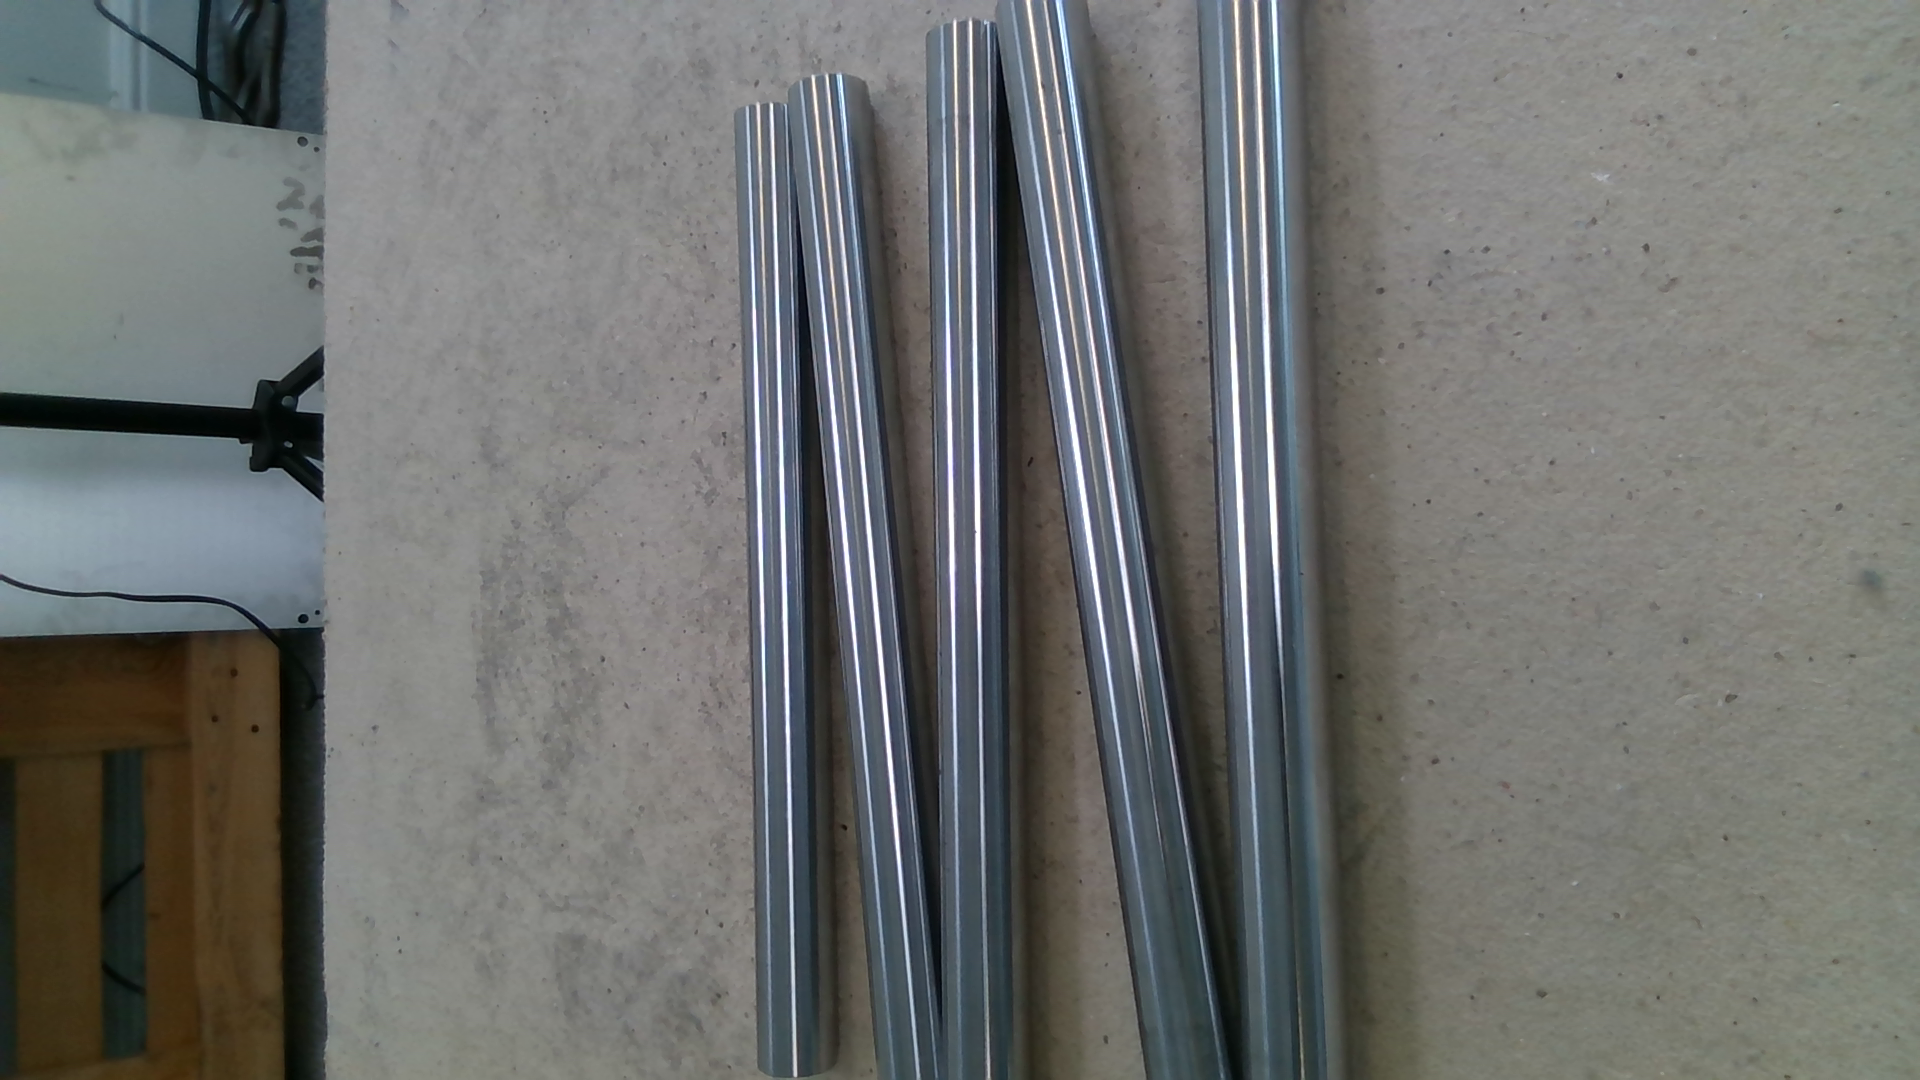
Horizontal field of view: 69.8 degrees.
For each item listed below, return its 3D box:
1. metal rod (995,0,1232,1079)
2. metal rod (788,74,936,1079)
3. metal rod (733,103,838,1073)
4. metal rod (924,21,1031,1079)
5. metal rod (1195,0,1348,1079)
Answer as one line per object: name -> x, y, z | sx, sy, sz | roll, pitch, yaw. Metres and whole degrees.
metal rod -> 0.041, 0.003, 0.356 | 0.025, 0.025, 0.300 | -12, 82, 40
metal rod -> -0.026, 0.010, 0.413 | 0.025, 0.025, 0.300 | -9, 85, 40
metal rod -> -0.055, 0.014, 0.438 | 0.025, 0.025, 0.300 | -2, 89, 40
metal rod -> 0.005, 0.009, 0.387 | 0.025, 0.025, 0.300 | -1, 90, 40
metal rod -> 0.074, 0.002, 0.329 | 0.025, 0.025, 0.300 | -3, 88, 40
